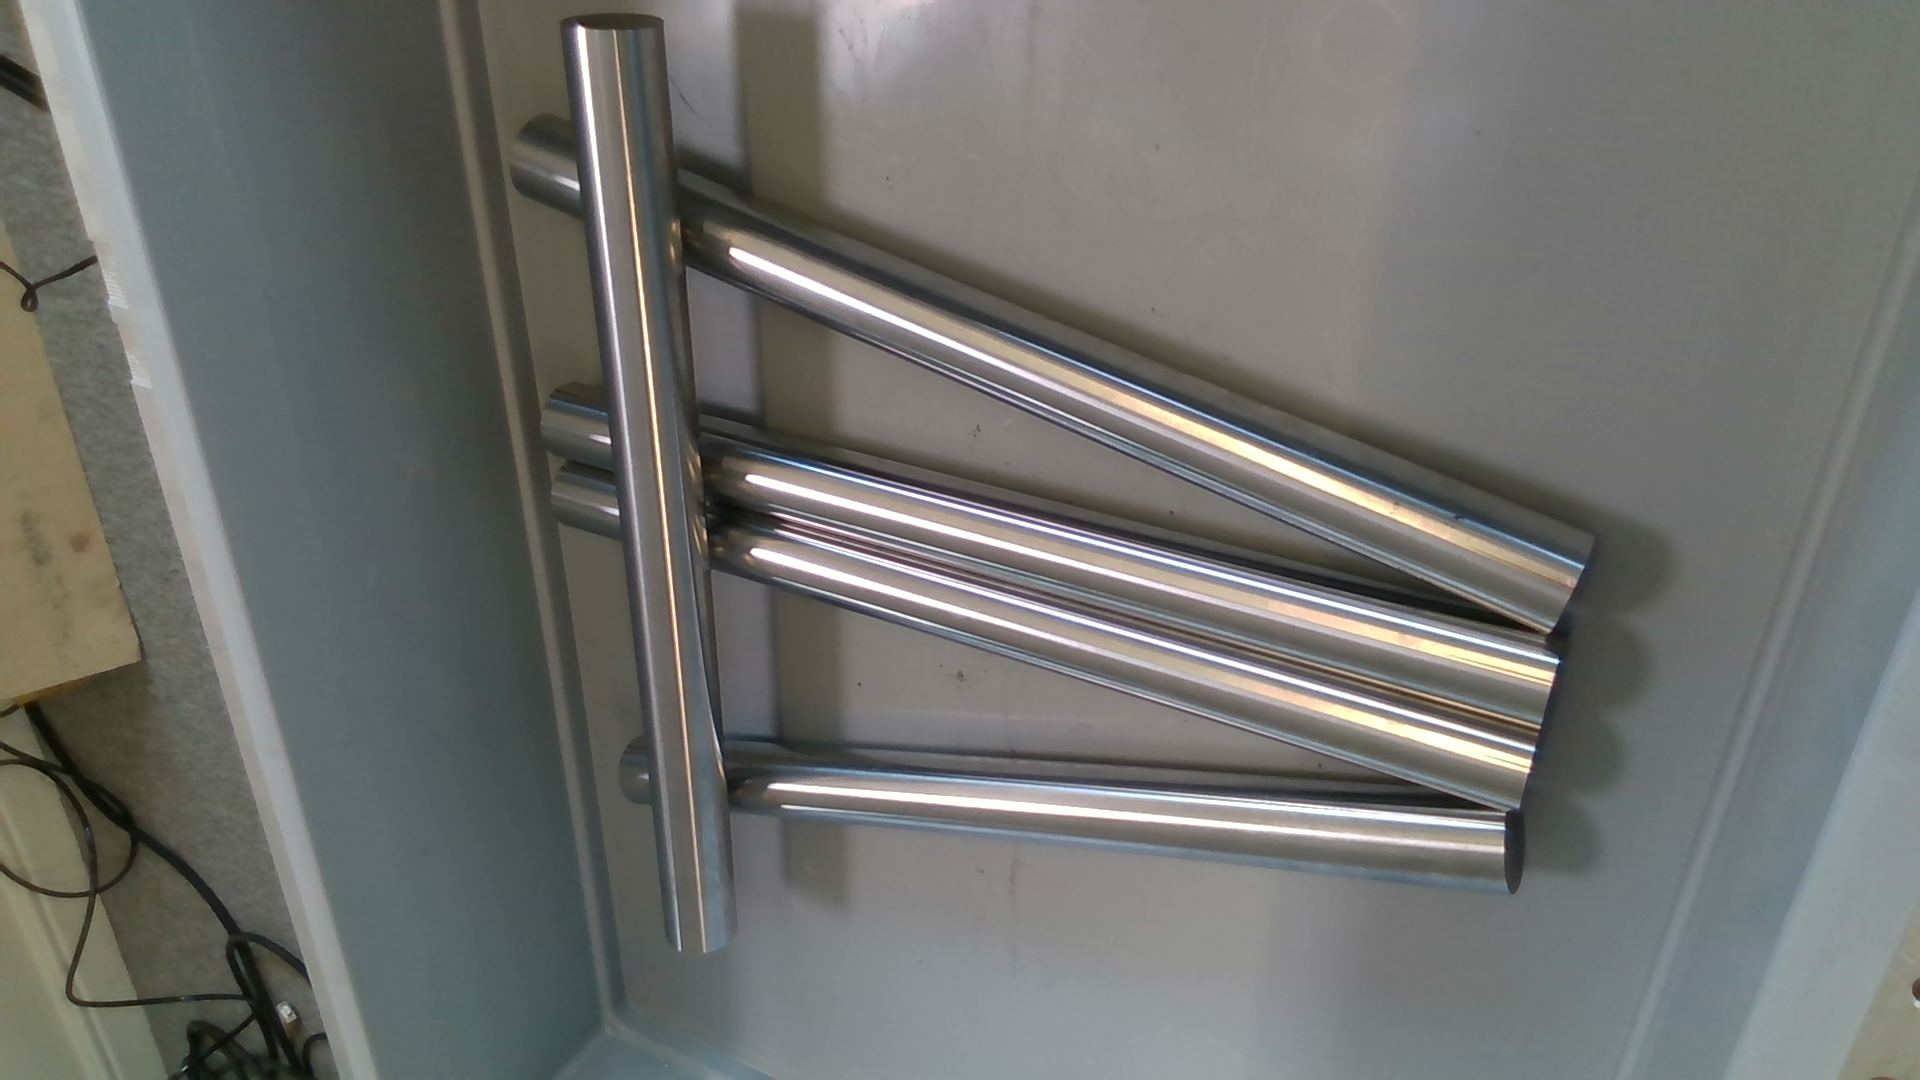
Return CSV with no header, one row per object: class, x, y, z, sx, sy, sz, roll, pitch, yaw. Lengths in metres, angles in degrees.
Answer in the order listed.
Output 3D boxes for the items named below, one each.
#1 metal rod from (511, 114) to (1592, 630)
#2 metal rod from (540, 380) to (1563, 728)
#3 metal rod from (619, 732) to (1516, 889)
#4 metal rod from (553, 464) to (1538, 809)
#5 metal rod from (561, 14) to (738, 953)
metal rod,0.007,-0.051,0.355,0.300,0.025,0.025,25,126,18
metal rod,0.006,-0.004,0.383,0.300,0.025,0.025,15,122,24
metal rod,0.011,0.078,0.424,0.300,0.025,0.025,-2,114,32
metal rod,0.006,0.018,0.394,0.300,0.025,0.025,15,122,24
metal rod,-0.088,0.004,0.411,0.025,0.025,0.301,16,122,24
